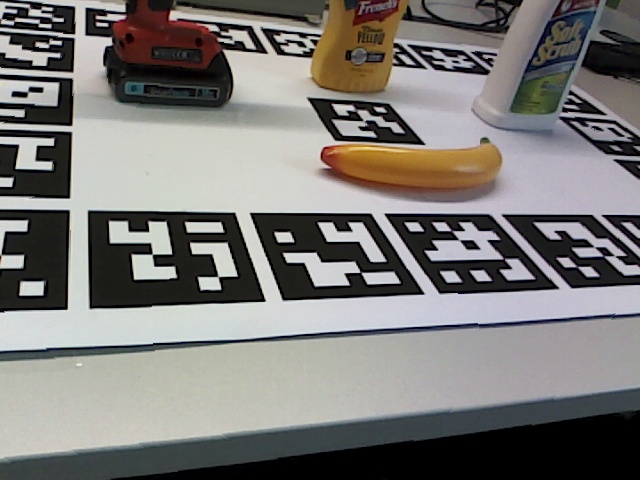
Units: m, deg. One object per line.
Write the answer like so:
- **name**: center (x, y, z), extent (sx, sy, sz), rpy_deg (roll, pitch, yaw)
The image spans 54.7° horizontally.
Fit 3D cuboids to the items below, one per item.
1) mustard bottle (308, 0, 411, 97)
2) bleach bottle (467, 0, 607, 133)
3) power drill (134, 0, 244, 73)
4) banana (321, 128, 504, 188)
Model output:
- **mustard bottle**: center (0.053, -0.258, 0.688), extent (0.095, 0.191, 0.059), rpy_deg (-5, 39, -28)
- **bleach bottle**: center (0.256, -0.246, 0.688), extent (0.102, 0.250, 0.068), rpy_deg (5, 36, -14)
- **power drill**: center (-0.104, -0.252, 0.570), extent (0.184, 0.187, 0.058), rpy_deg (-7, 40, -22)
- **banana**: center (0.097, -0.076, 0.564), extent (0.196, 0.039, 0.075), rpy_deg (-6, 42, -23)
